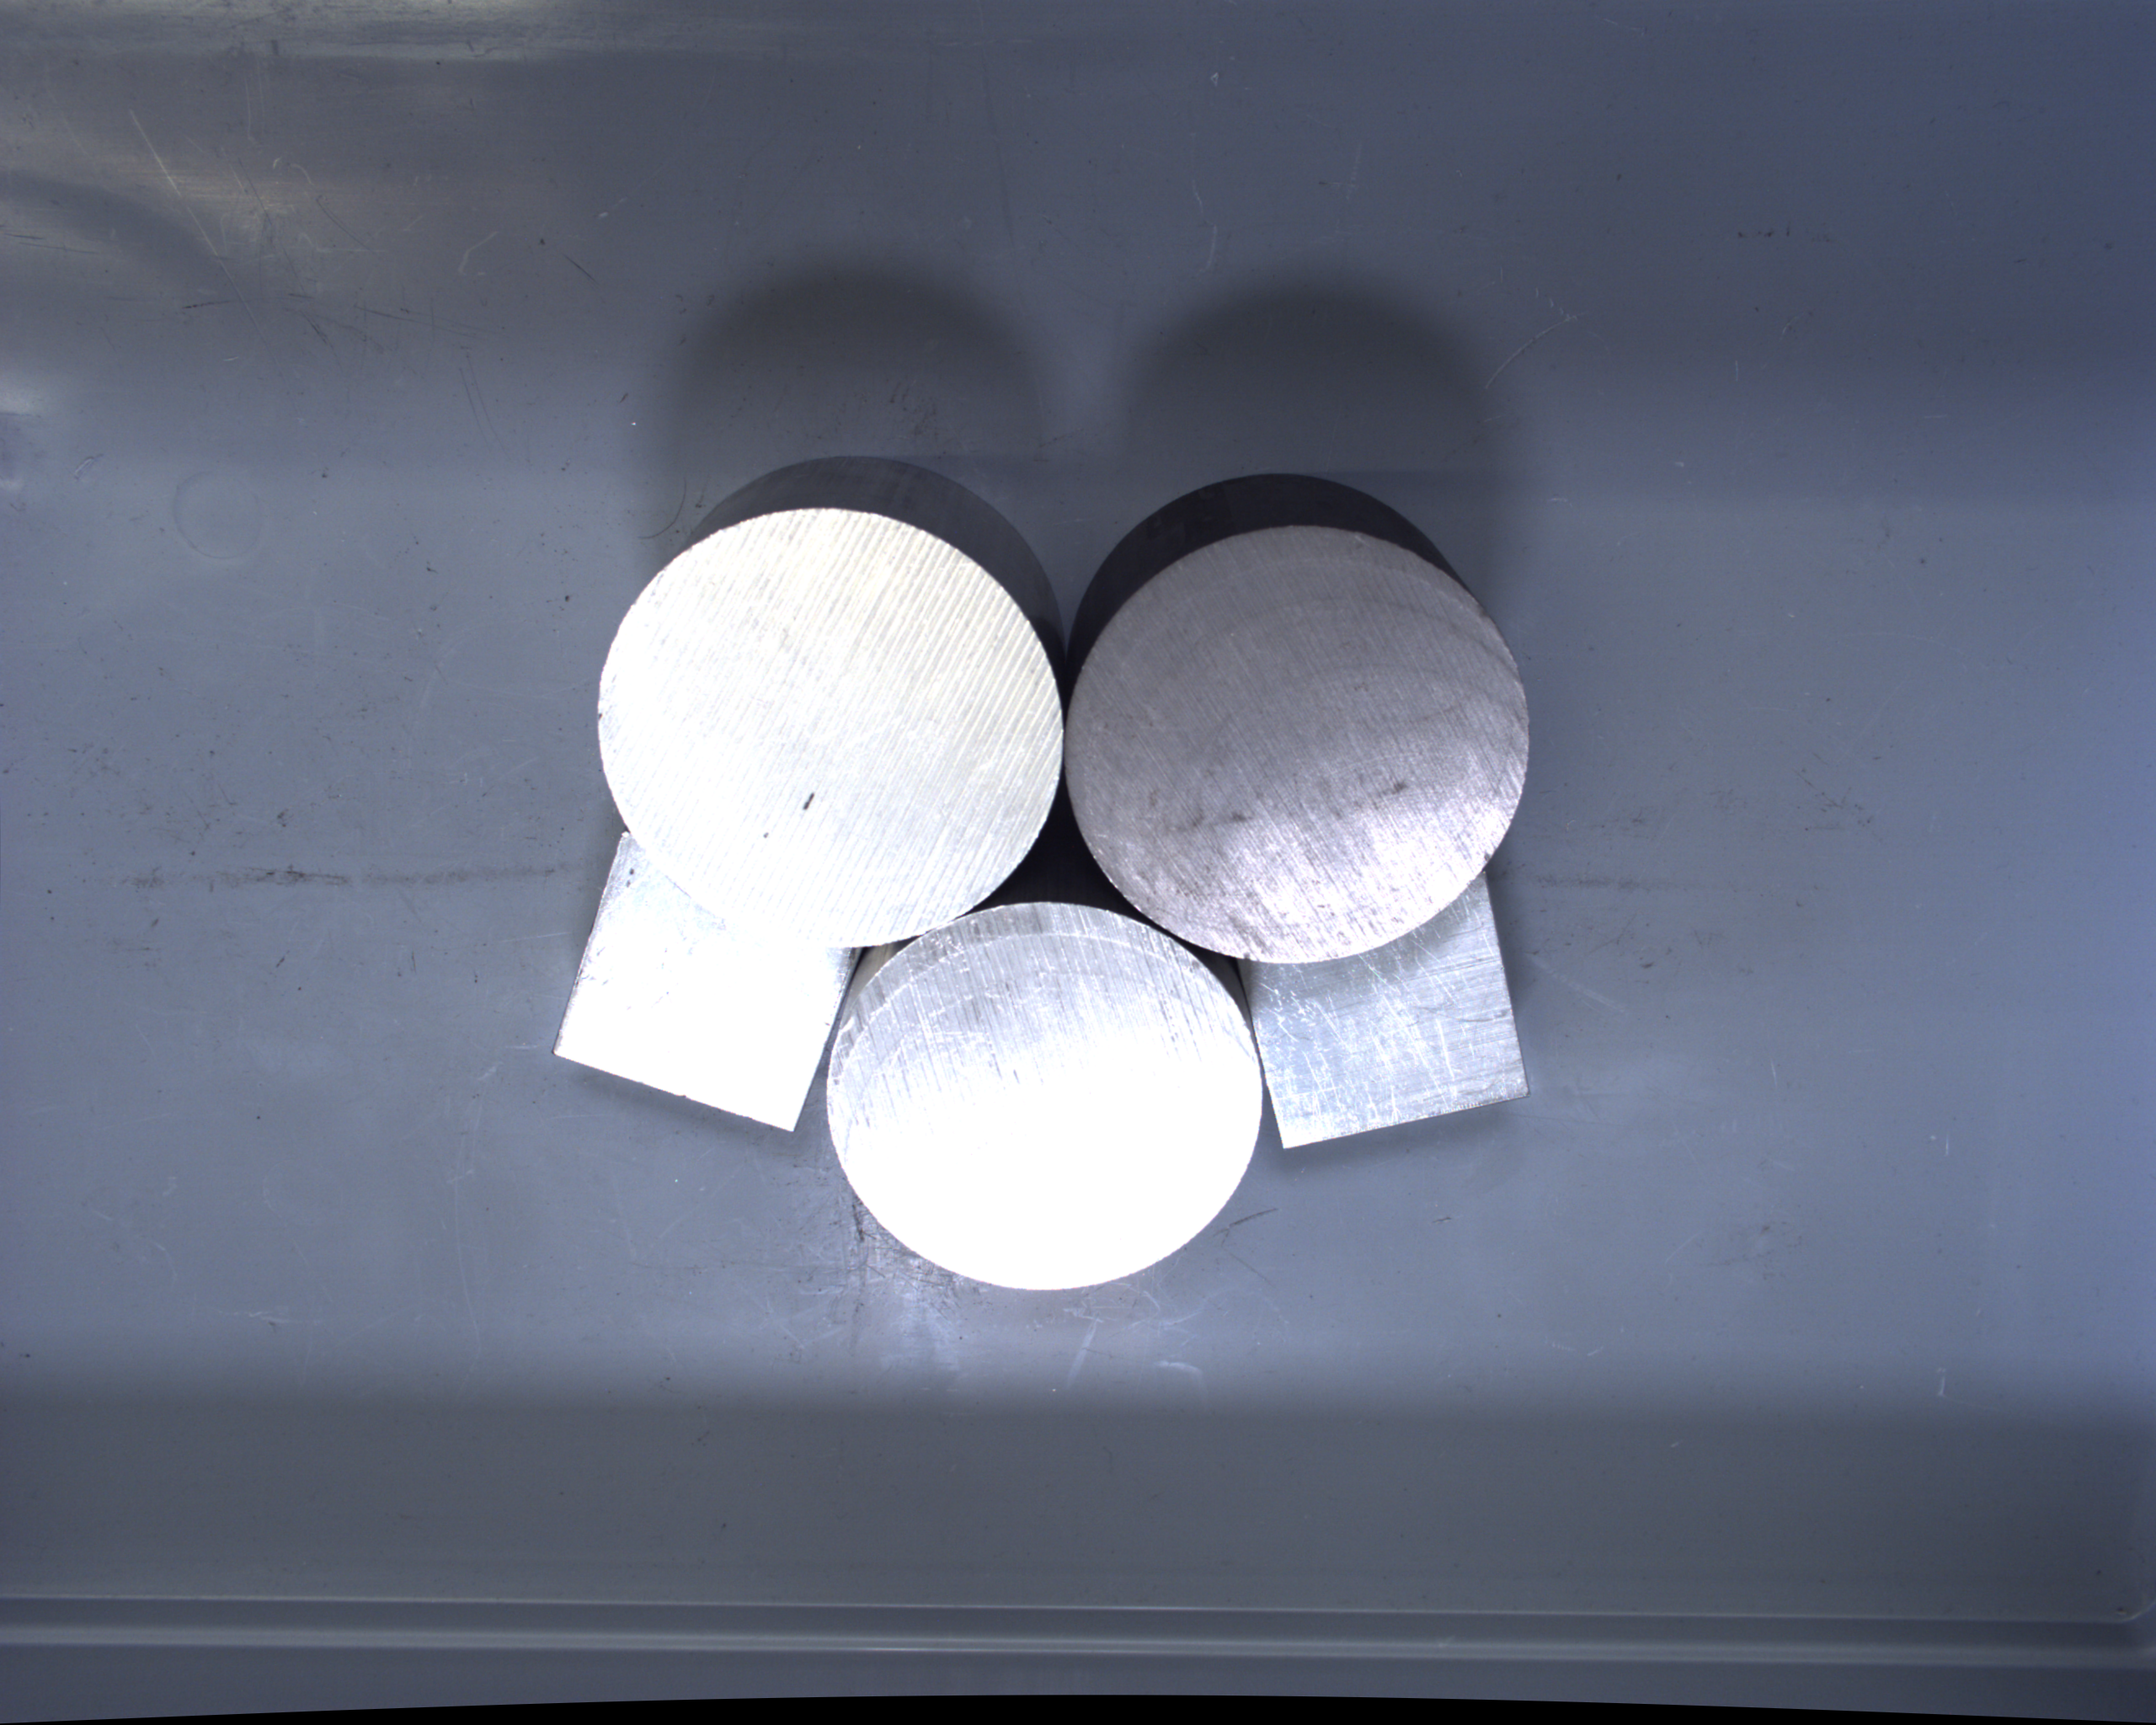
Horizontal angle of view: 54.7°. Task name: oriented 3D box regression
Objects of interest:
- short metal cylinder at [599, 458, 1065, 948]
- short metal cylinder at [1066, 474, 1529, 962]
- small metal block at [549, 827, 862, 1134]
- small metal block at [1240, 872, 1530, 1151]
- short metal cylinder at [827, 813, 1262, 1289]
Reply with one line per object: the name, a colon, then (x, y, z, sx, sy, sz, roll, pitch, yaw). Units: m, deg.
short metal cylinder: (-0.043, -0.031, 0.384, 0.081, 0.050, 0.079, 0, 110, 0)
short metal cylinder: (0.038, -0.028, 0.386, 0.081, 0.050, 0.079, 0, 110, 0)
small metal block: (-0.071, 0.020, 0.416, 0.050, 0.025, 0.050, 20, 109, -7)
small metal block: (0.059, 0.025, 0.420, 0.050, 0.025, 0.050, -13, 110, 4)
short metal cylinder: (-0.006, 0.036, 0.409, 0.081, 0.050, 0.079, 0, 110, 0)
